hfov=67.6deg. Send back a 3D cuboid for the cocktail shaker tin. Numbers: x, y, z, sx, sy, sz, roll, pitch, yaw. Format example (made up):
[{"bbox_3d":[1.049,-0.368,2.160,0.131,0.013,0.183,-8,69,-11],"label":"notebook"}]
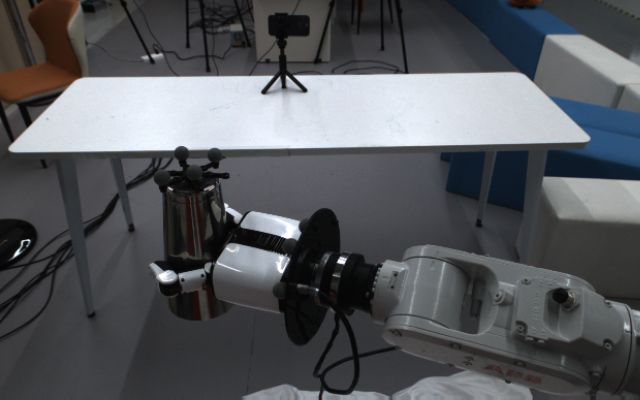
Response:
[{"bbox_3d":[-0.149,0.053,0.598,0.093,0.170,0.093,2,28,-1],"label":"cocktail shaker tin"}]
